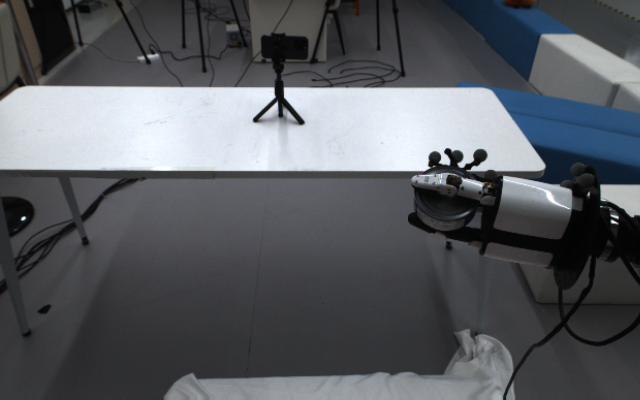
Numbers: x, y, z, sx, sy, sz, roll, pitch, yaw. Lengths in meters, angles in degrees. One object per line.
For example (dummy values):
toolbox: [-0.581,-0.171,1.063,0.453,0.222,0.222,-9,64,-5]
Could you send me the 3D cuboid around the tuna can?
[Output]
tuna can: [0.170,-0.006,0.646,0.085,0.034,0.085,-4,55,6]
